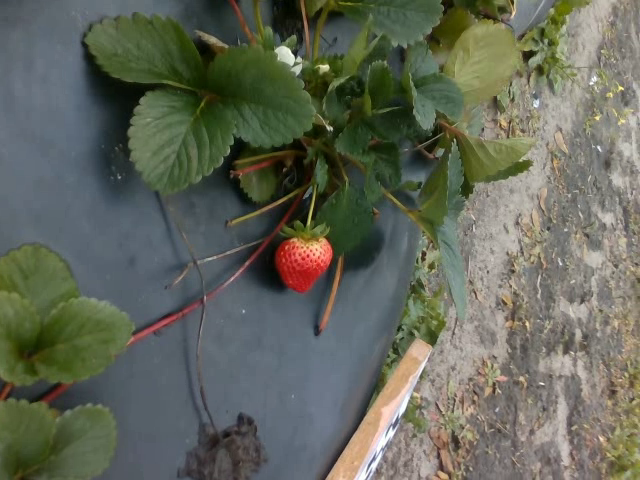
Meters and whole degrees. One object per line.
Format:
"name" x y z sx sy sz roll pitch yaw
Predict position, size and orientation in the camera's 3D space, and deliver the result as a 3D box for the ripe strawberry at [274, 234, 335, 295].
"ripe strawberry" -0.013 0.024 0.515 0.049 0.065 0.061 21 30 18
